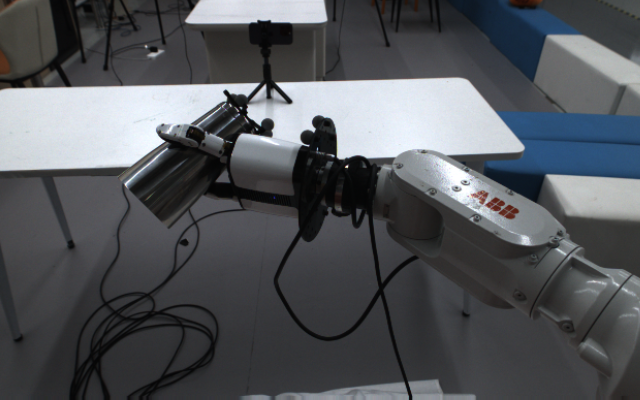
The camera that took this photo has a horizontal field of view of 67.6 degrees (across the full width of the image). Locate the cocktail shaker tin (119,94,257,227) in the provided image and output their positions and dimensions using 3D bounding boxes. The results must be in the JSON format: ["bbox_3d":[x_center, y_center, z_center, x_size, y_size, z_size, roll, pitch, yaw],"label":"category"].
[{"bbox_3d":[-0.170,-0.057,0.646,0.170,0.093,0.093,-43,50,-14],"label":"cocktail shaker tin"}]
